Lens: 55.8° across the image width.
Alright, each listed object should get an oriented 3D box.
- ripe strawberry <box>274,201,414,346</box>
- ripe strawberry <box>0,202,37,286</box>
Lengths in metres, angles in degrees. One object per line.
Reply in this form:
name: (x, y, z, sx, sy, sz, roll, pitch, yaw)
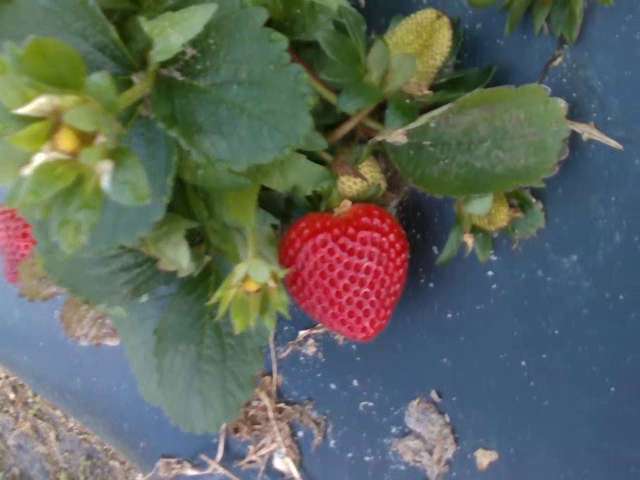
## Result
ripe strawberry: (0.008, 0.014, 0.198, 0.047, 0.046, 0.043, -10, -28, -31)
ripe strawberry: (-0.133, -0.001, 0.279, 0.043, 0.050, 0.043, 31, 22, 16)
